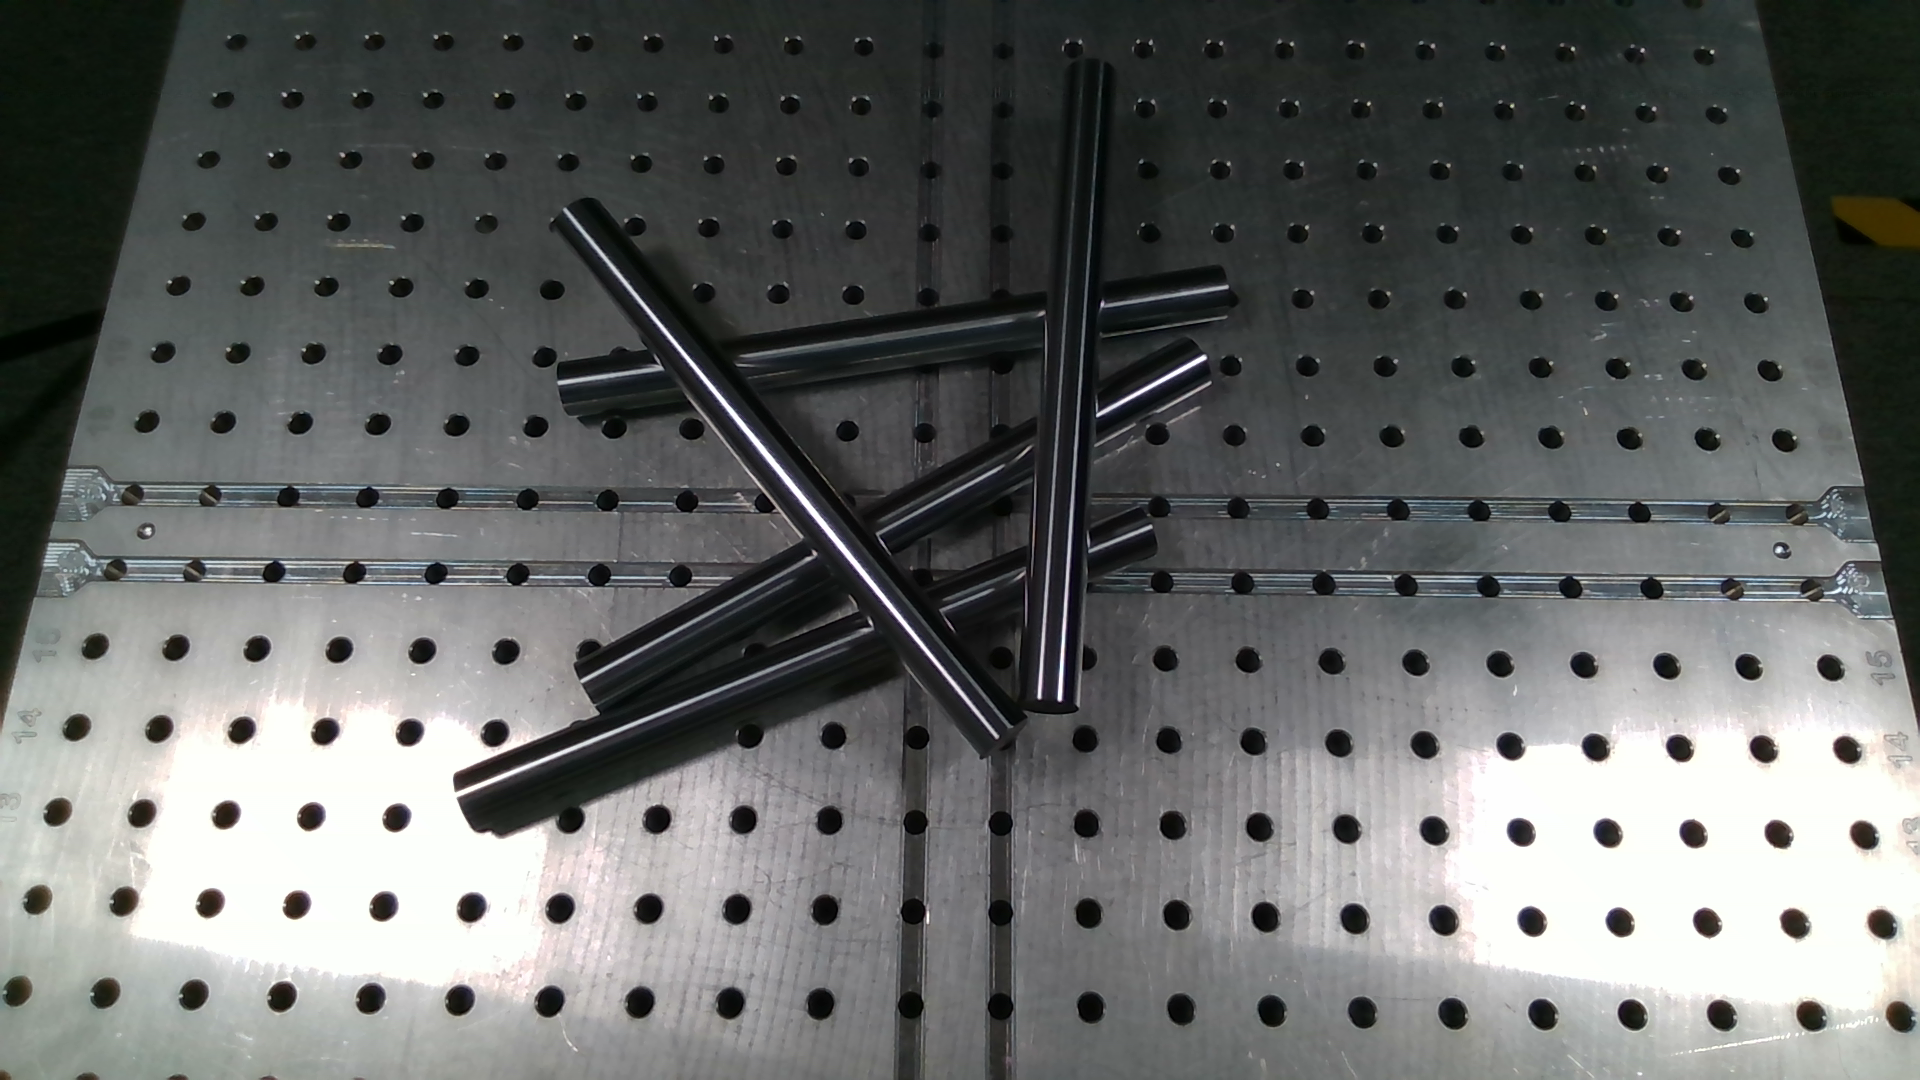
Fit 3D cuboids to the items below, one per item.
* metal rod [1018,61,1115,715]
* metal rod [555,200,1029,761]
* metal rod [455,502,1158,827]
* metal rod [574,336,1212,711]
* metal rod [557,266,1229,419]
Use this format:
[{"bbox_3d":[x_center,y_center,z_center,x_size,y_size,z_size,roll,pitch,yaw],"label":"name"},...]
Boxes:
[{"bbox_3d":[0.047,-0.074,0.591,0.025,0.025,0.299,5,70,2],"label":"metal rod"},{"bbox_3d":[-0.076,-0.032,0.575,0.025,0.025,0.300,-37,74,-12],"label":"metal rod"},{"bbox_3d":[-0.059,0.049,0.573,0.300,0.025,0.025,-21,72,-8],"label":"metal rod"},{"bbox_3d":[-0.024,-0.010,0.593,0.300,0.025,0.025,-29,73,-10],"label":"metal rod"},{"bbox_3d":[-0.028,-0.090,0.622,0.300,0.025,0.025,-9,70,-3],"label":"metal rod"}]
